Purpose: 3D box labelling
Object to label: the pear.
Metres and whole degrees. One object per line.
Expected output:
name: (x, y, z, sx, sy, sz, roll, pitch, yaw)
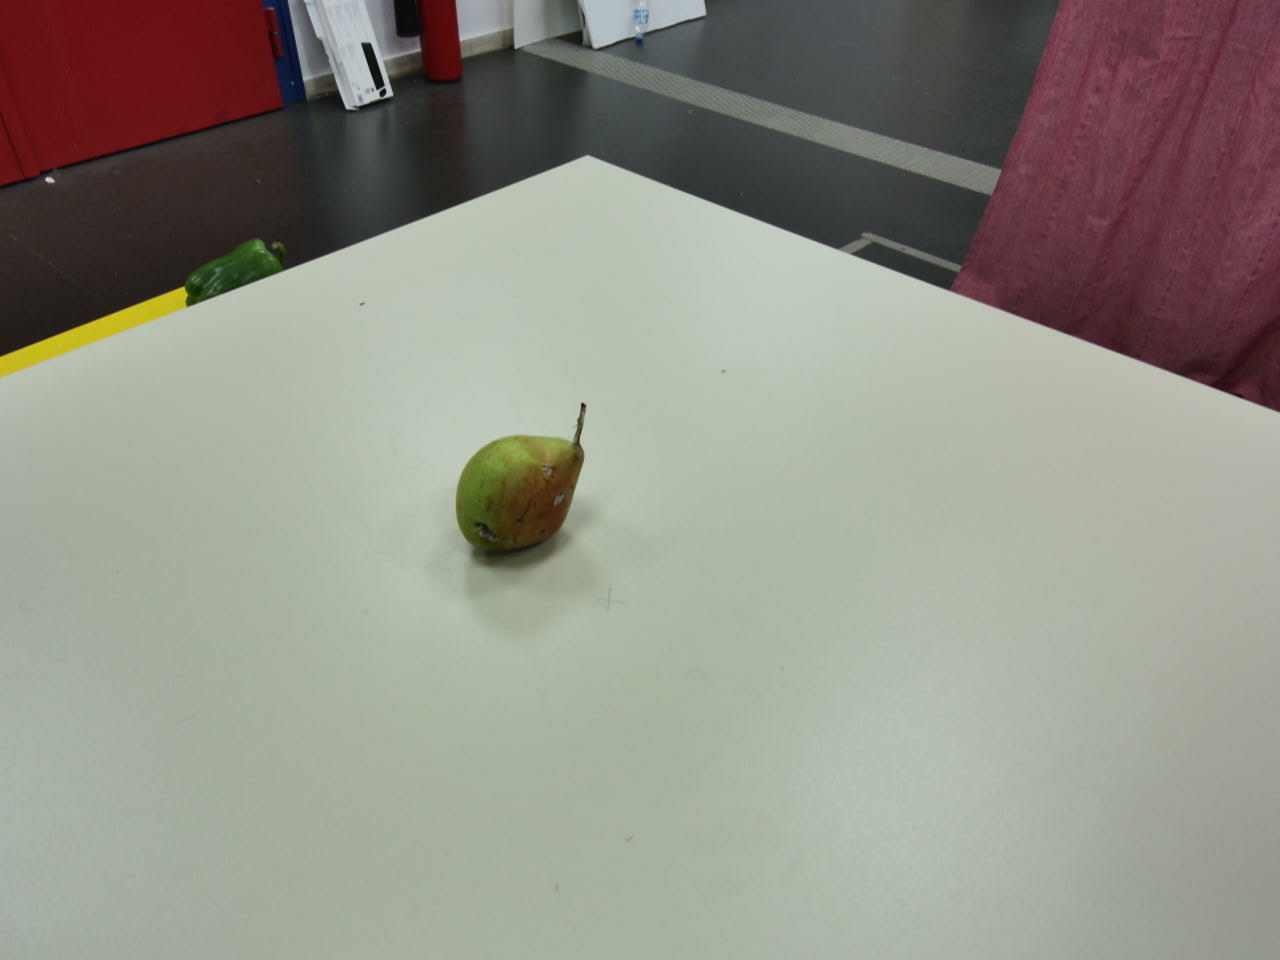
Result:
pear: (-0.066, 0.004, 0.554, 0.070, 0.069, 0.068, 2, 38, 1)
